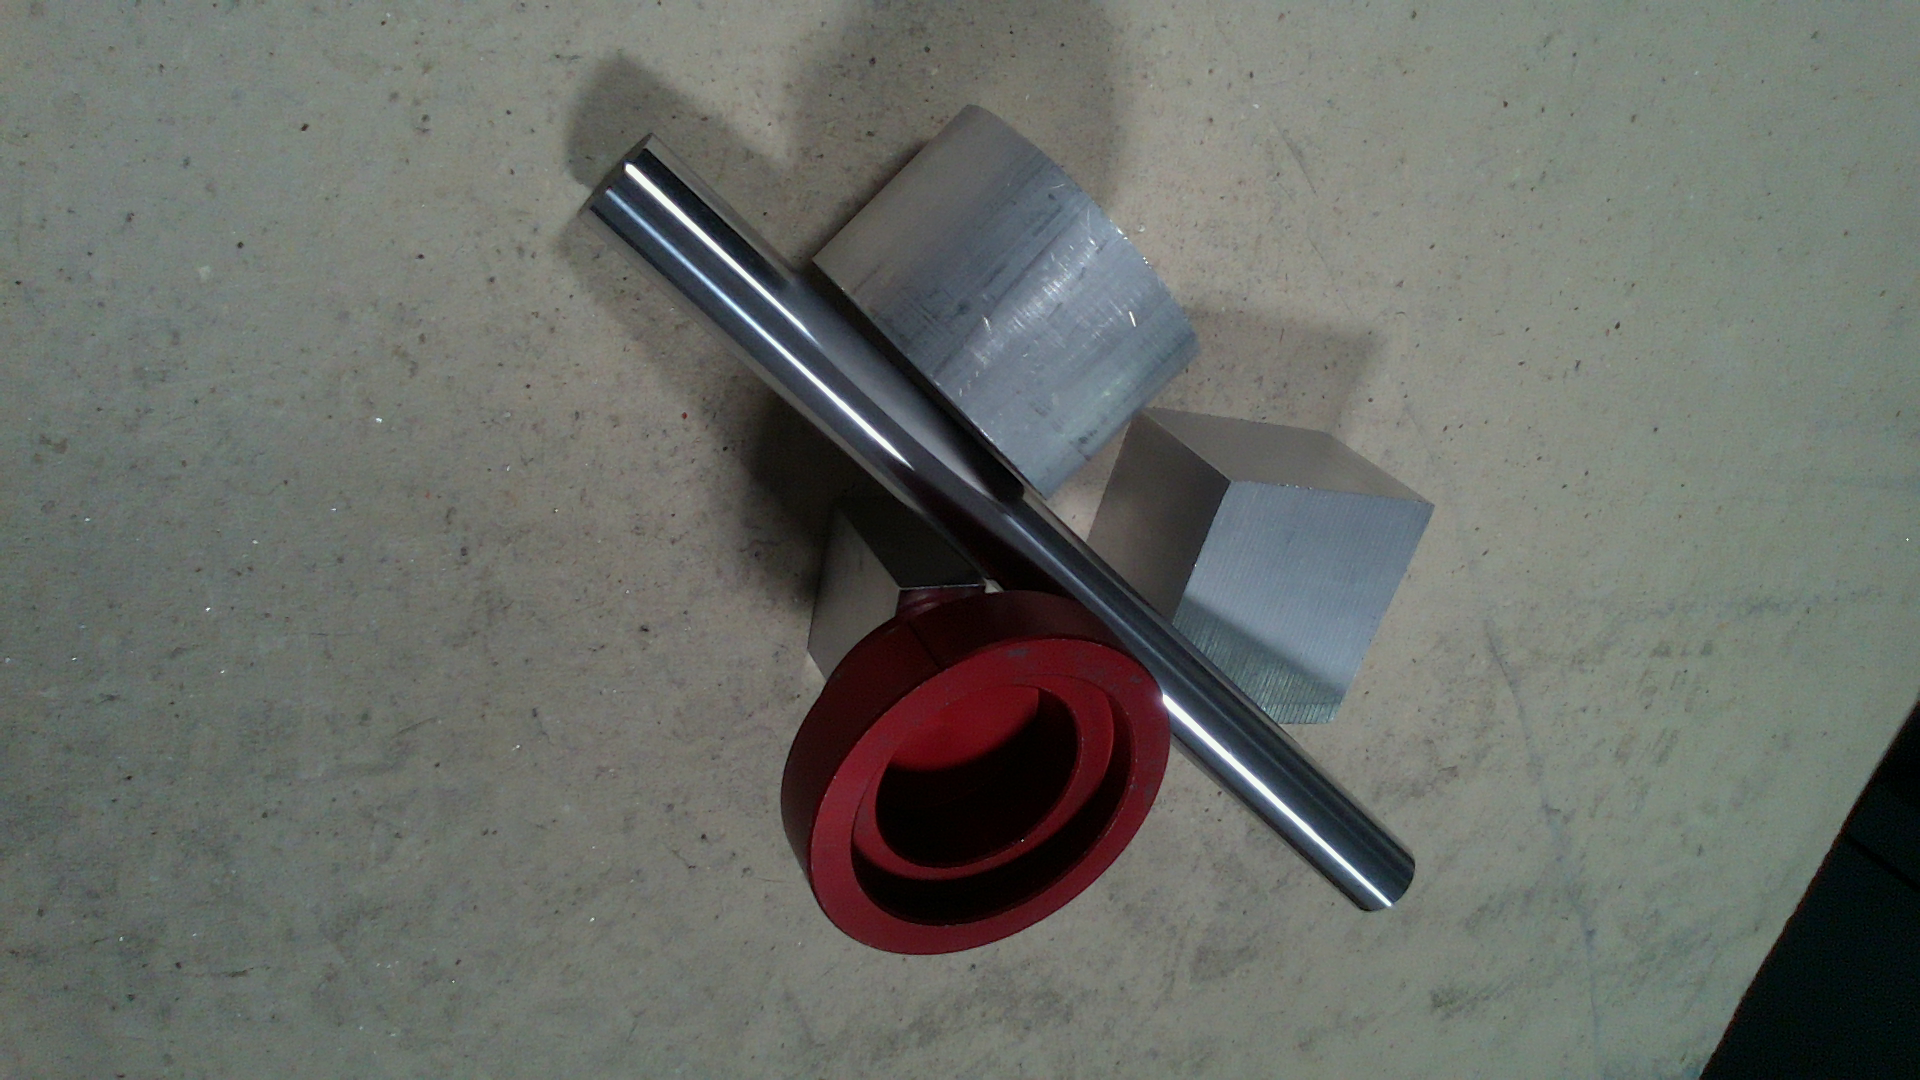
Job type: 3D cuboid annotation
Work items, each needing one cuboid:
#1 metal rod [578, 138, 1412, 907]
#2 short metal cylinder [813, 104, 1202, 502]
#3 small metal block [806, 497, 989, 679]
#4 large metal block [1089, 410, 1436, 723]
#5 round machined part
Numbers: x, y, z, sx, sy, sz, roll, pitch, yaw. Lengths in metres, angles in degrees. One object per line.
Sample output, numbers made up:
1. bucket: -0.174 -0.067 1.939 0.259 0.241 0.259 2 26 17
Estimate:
1. metal rod: 0.027 0.012 0.363 0.025 0.025 0.301 -46 115 4
2. short metal cylinder: 0.011 -0.055 0.326 0.050 0.080 0.080 -44 129 3
3. small metal block: -0.019 0.022 0.377 0.025 0.050 0.050 -2 119 -27
4. large metal block: 0.086 0.009 0.426 0.080 0.050 0.080 4 116 -30
5. round machined part: 0.001 0.054 0.348 0.098 0.042 0.098 -14 125 -20
